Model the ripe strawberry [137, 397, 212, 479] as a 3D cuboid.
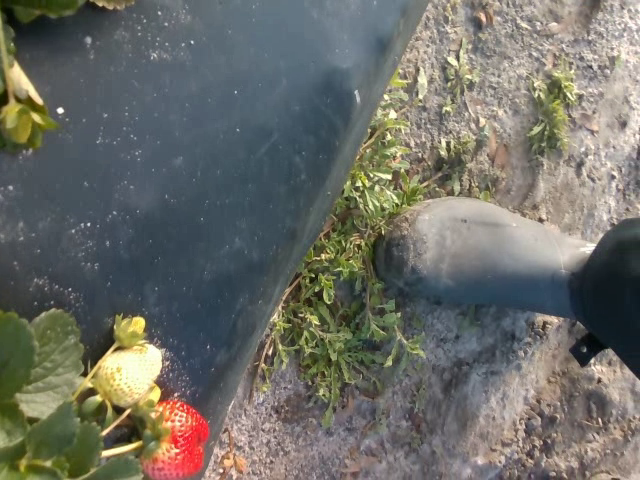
[{"bbox_3d":[-0.084,0.130,0.383,0.034,0.048,0.050,22,-8,35],"label":"ripe strawberry"}]
